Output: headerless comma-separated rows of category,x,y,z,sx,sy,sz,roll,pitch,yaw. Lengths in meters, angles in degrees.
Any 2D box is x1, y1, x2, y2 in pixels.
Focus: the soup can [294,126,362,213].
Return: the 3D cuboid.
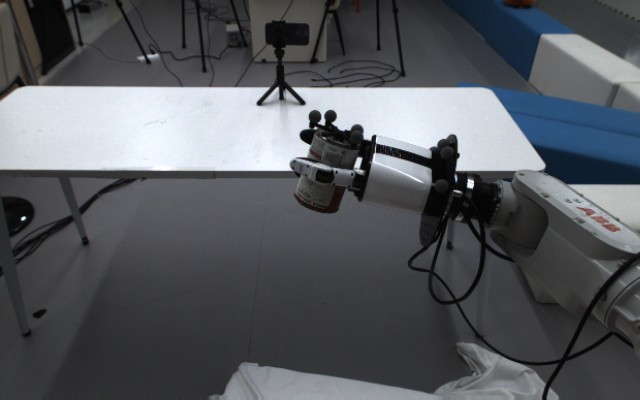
soup can,0.011,-0.041,0.675,0.067,0.101,0.067,17,21,-7
